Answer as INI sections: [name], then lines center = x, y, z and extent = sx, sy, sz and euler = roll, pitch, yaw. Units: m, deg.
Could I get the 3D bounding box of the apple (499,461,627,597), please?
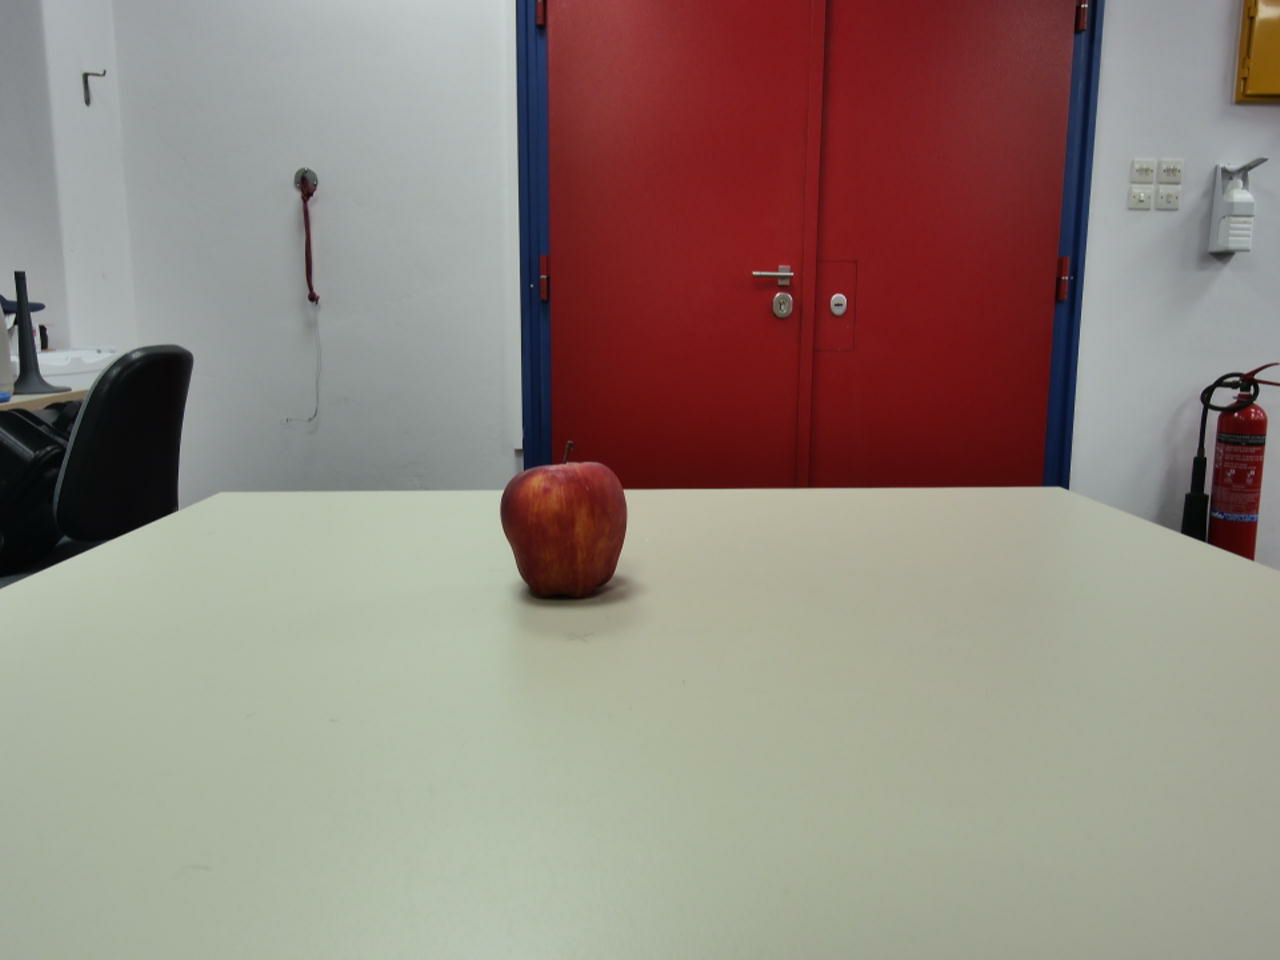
[apple]
center = -0.047, 0.023, 0.599
extent = 0.083, 0.090, 0.083
euler = 2, 7, 0
